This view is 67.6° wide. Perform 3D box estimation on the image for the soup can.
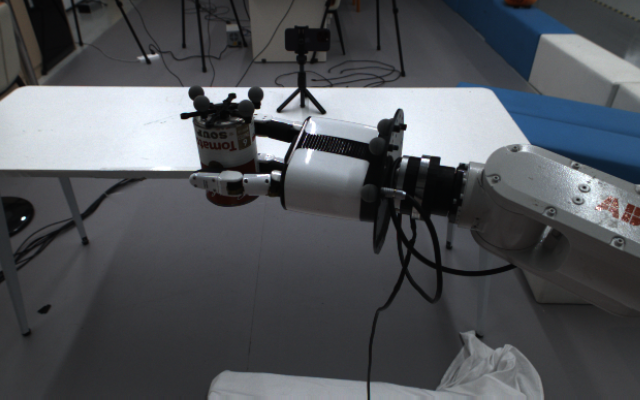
[{"bbox_3d":[-0.104,-0.053,0.561,0.067,0.101,0.067,-2,34,1],"label":"soup can"}]
